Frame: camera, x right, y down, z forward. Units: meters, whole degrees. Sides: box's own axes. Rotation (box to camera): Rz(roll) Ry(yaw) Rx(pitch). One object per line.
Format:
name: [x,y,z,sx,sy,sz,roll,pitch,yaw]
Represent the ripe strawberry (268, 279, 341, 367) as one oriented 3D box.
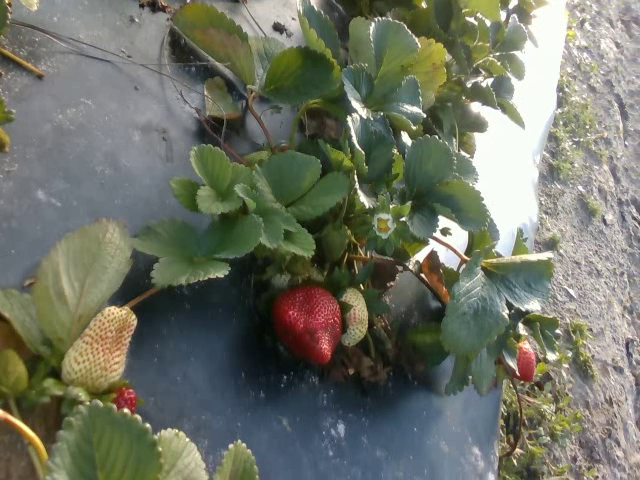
ripe strawberry: [-0.007,0.060,0.398,0.057,0.058,0.070,-3,-1,2]
